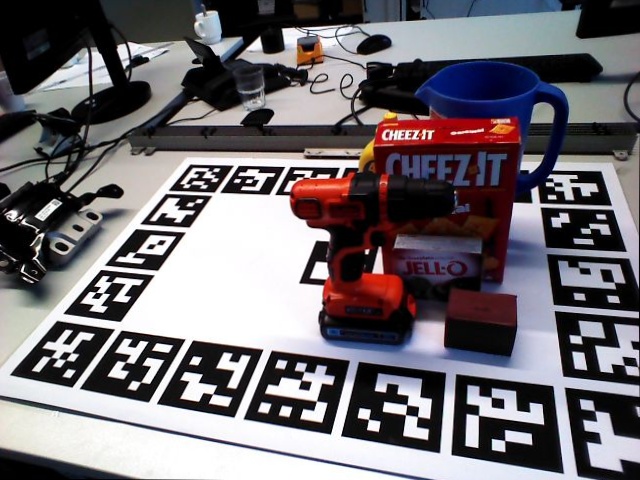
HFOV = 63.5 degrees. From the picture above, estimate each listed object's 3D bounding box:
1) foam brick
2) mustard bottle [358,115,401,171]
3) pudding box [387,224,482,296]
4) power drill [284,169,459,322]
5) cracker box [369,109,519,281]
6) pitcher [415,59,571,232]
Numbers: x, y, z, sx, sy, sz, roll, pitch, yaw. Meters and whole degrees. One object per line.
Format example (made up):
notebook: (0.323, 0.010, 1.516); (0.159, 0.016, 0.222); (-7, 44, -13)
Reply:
foam brick: (0.188, 0.094, 0.610); (0.078, 0.051, 0.052); (5, 43, 20)
mustard bottle: (0.105, -0.111, 0.756); (0.097, 0.192, 0.058); (13, 46, 28)
pudding box: (0.146, 0.025, 0.653); (0.114, 0.090, 0.038); (2, 39, 21)
power drill: (0.059, 0.007, 0.586); (0.185, 0.187, 0.057); (3, 37, 17)
cracker box: (0.158, -0.047, 0.652); (0.165, 0.214, 0.071); (1, 38, 18)
pitcher: (0.230, -0.112, 0.707); (0.190, 0.243, 0.132); (7, 42, 24)
